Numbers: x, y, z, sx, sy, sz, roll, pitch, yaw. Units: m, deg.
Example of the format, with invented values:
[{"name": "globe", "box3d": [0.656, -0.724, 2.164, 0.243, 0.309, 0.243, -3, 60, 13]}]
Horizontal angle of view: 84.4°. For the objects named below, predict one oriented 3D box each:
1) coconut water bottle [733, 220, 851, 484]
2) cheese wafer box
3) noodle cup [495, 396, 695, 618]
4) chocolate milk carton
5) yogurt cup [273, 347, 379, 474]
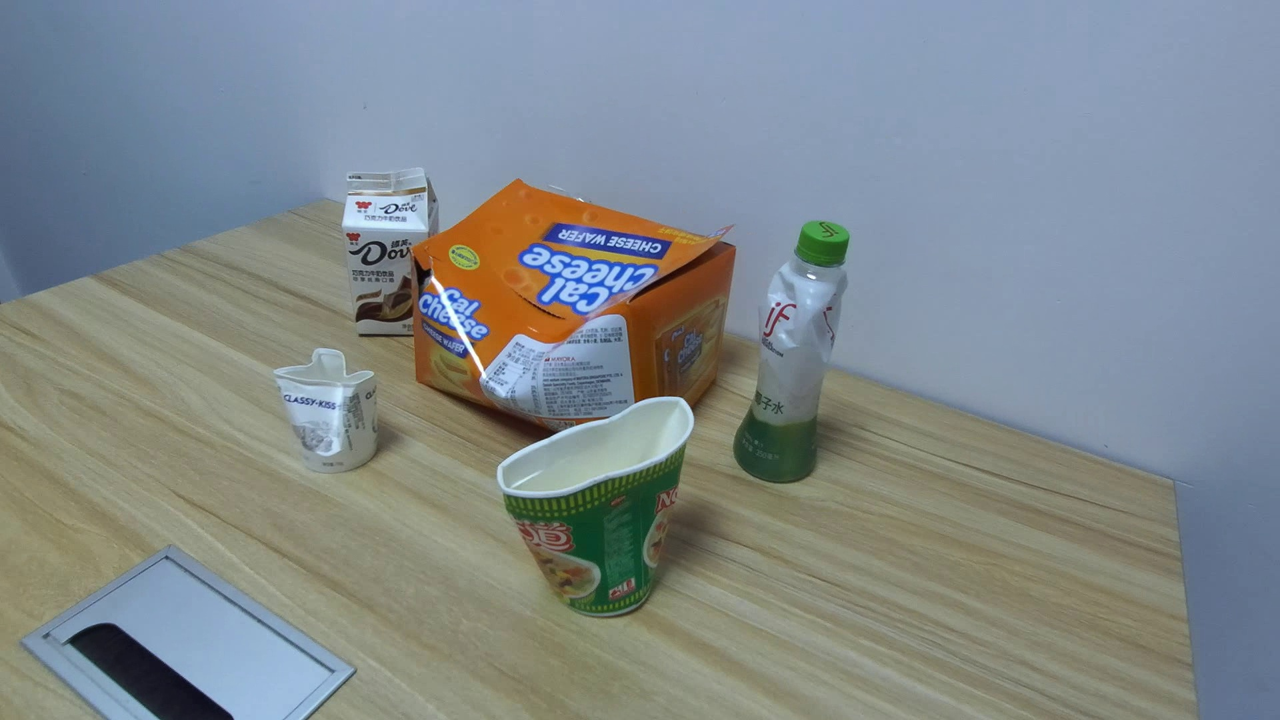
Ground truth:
[{"name": "coconut water bottle", "box3d": [0.110, -0.004, 0.491, 0.067, 0.187, 0.067, 4, 33, -2]}, {"name": "cheese wafer box", "box3d": [-0.060, -0.037, 0.567, 0.218, 0.145, 0.192, 18, 35, 21]}, {"name": "noodle cup", "box3d": [-0.023, 0.088, 0.410, 0.115, 0.111, 0.070, -6, 35, -14]}, {"name": "chocolate milk carton", "box3d": [-0.223, -0.103, 0.646, 0.075, 0.148, 0.074, 1, 32, -8]}, {"name": "yogurt cup", "box3d": [-0.218, 0.036, 0.504, 0.054, 0.072, 0.055, 23, 35, 28]}]
